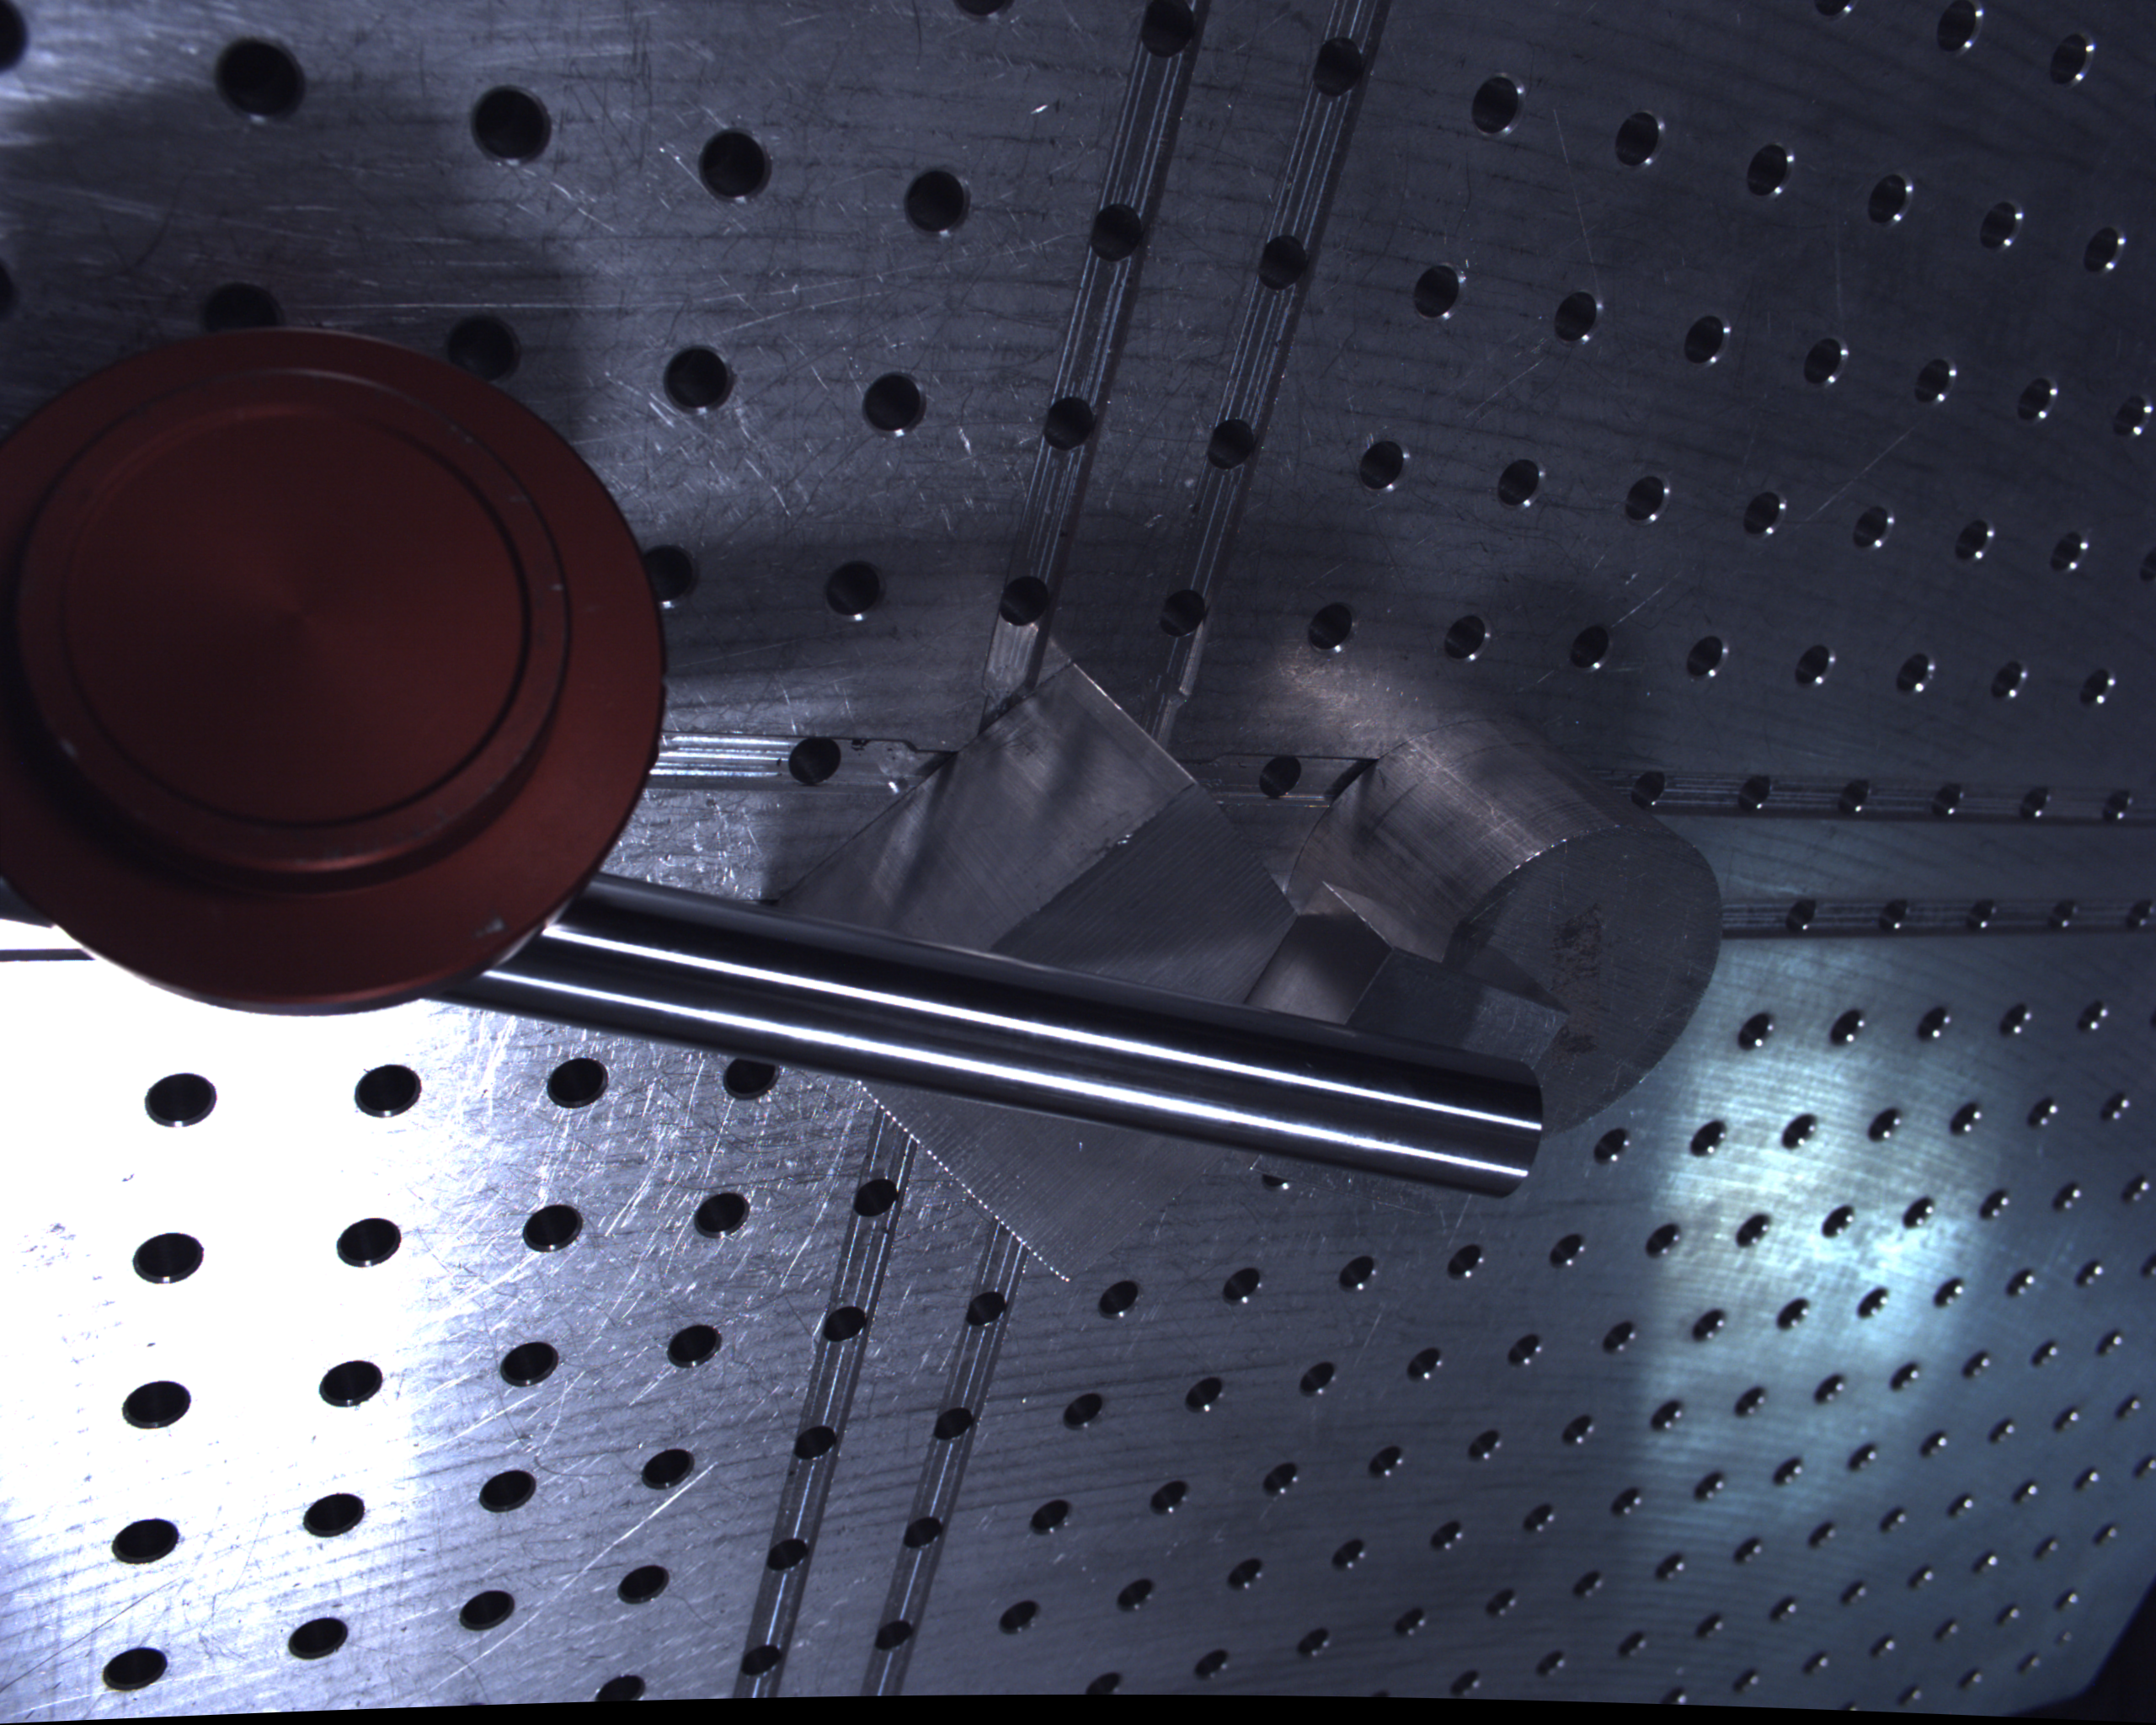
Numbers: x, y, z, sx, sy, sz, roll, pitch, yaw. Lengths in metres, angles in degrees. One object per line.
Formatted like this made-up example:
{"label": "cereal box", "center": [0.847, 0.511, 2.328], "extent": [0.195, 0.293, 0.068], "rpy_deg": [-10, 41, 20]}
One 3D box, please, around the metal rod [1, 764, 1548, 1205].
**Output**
{"label": "metal rod", "center": [-0.065, 0.017, 0.331], "extent": [0.302, 0.025, 0.025], "rpy_deg": [13, 113, -16]}

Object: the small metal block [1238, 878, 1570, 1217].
{"label": "small metal block", "center": [0.057, 0.036, 0.399], "extent": [0.050, 0.025, 0.050], "rpy_deg": [20, 108, -36]}

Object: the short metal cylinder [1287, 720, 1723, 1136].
{"label": "short metal cylinder", "center": [0.092, 0.015, 0.457], "extent": [0.081, 0.050, 0.079], "rpy_deg": [-14, 125, -21]}

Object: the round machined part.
{"label": "round machined part", "center": [-0.107, -0.029, 0.290], "extent": [0.099, 0.042, 0.097], "rpy_deg": [3, 79, -17]}

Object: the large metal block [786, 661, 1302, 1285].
{"label": "large metal block", "center": [-0.001, 0.022, 0.407], "extent": [0.080, 0.050, 0.080], "rpy_deg": [-40, 130, -2]}
